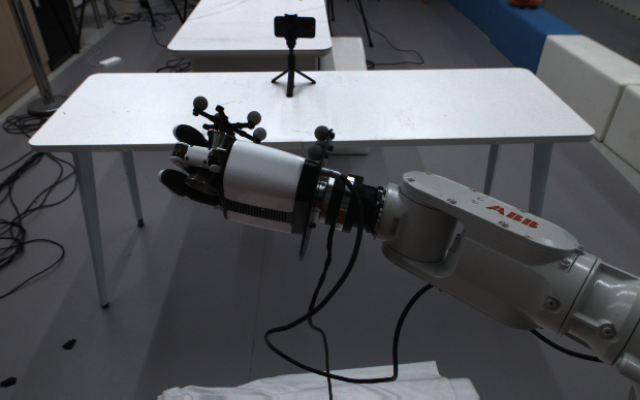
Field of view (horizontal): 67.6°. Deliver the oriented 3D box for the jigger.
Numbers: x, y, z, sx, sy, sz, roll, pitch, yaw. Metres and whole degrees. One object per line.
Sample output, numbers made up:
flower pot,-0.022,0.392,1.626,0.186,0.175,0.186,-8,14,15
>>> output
jigger,-0.125,-0.045,0.580,0.043,0.043,0.071,12,71,14
